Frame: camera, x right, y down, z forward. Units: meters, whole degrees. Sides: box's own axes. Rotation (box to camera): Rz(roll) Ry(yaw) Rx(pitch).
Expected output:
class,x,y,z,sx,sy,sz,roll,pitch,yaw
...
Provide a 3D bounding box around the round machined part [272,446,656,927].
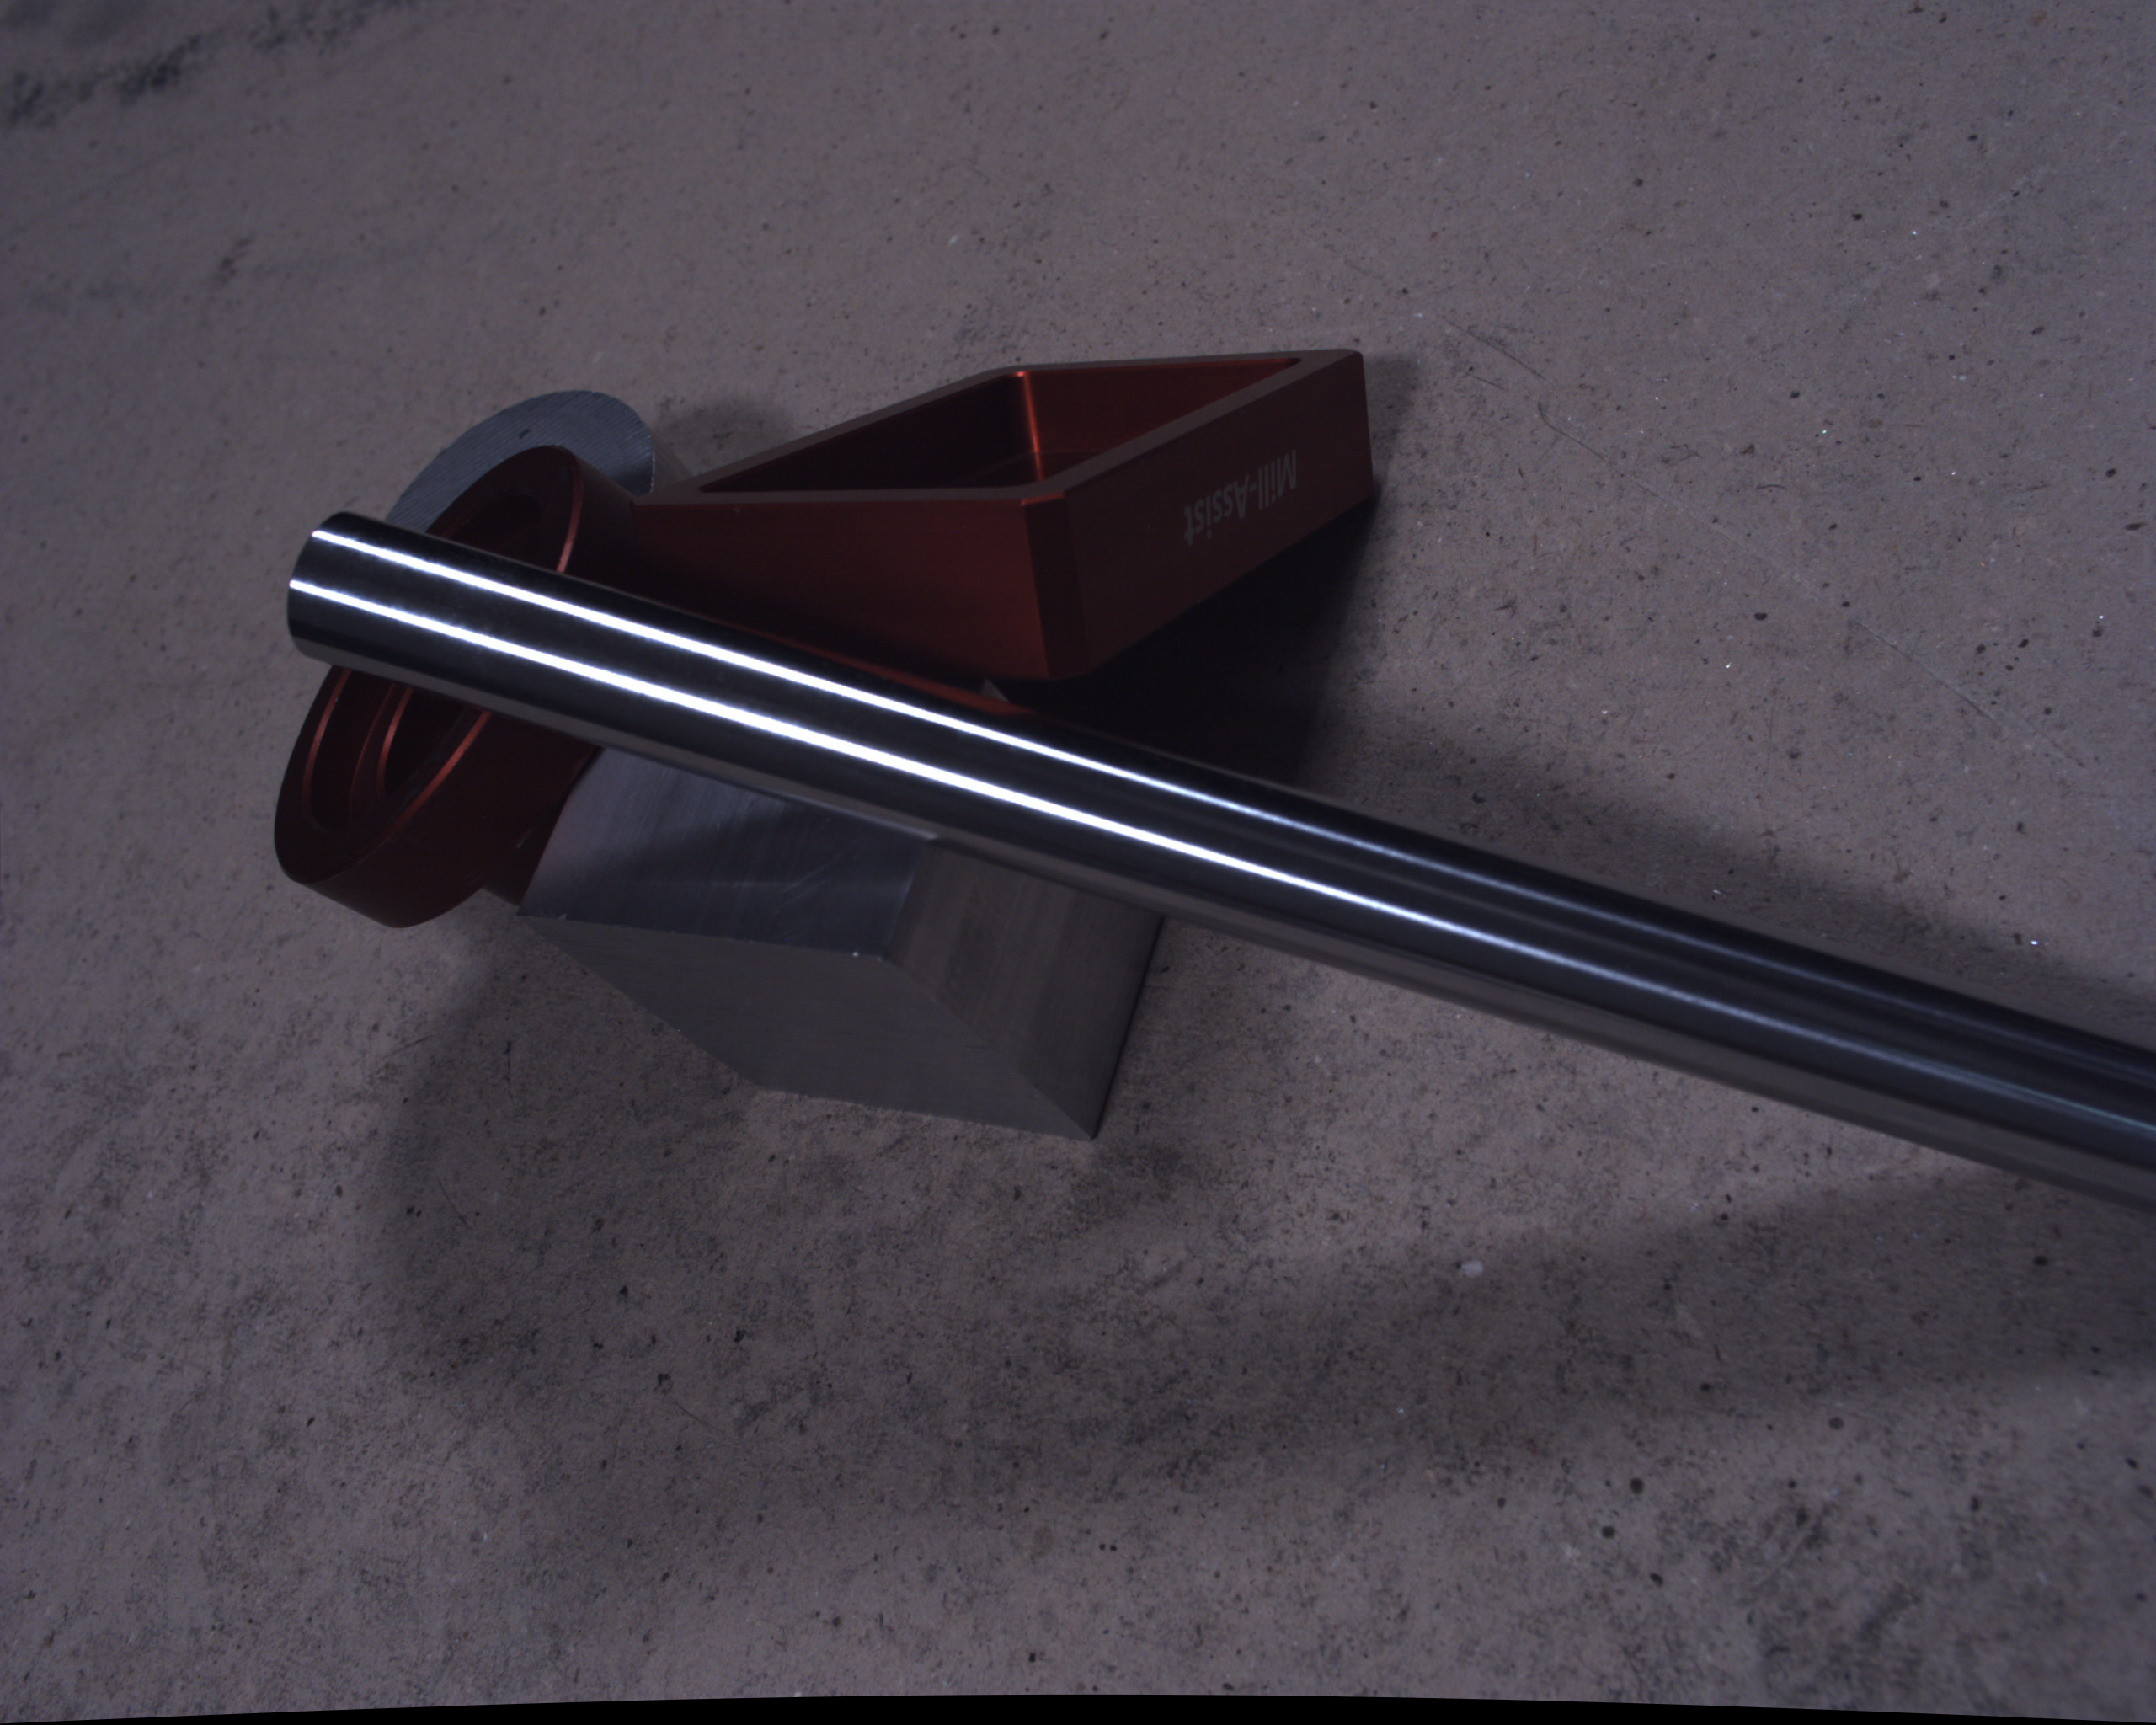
class,x,y,z,sx,sy,sz,roll,pitch,yaw
round machined part,-0.113,-0.030,0.414,0.098,0.042,0.098,-30,42,32

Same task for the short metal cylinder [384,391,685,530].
class,x,y,z,sx,sy,sz,roll,pitch,yaw
short metal cylinder,-0.119,-0.063,0.488,0.080,0.050,0.080,-13,56,20

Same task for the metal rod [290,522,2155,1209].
class,x,y,z,sx,sy,sz,roll,pitch,yaw
metal rod,0.022,-0.002,0.318,0.301,0.025,0.025,16,68,8

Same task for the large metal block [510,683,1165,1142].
class,x,y,z,sx,sy,sz,roll,pitch,yaw
large metal block,-0.040,0.008,0.384,0.080,0.080,0.050,5,64,30

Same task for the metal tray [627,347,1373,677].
class,x,y,z,sx,sy,sz,roll,pitch,yaw
metal tray,-0.010,-0.071,0.400,0.090,0.030,0.131,5,24,30
